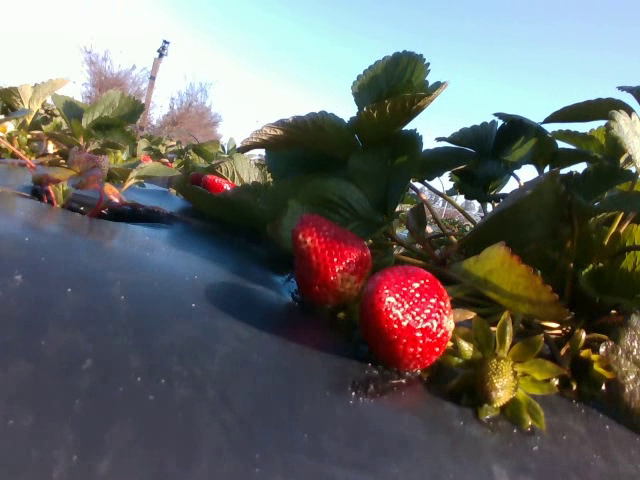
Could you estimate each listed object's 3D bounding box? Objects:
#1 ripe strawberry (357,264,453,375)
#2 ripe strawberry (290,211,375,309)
[{"bbox_3d":[0.031,0.025,0.230,0.043,0.038,0.053,47,6,30],"label":"ripe strawberry"},{"bbox_3d":[0.004,0.009,0.292,0.039,0.054,0.048,-40,6,39],"label":"ripe strawberry"}]
